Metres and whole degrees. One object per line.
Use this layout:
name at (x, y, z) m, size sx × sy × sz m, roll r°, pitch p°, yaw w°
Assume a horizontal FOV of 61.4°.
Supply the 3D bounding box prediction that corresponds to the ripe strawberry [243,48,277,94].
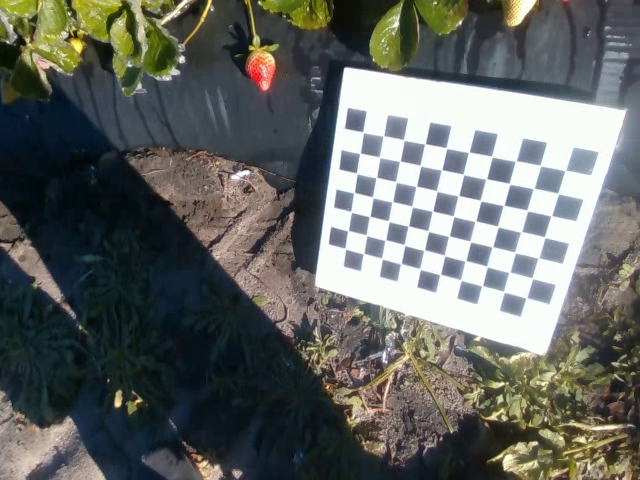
ripe strawberry at (-0.067, -0.199, 0.632) m, size 0.039 × 0.053 × 0.040 m, roll -7°, pitch -3°, yaw 26°
